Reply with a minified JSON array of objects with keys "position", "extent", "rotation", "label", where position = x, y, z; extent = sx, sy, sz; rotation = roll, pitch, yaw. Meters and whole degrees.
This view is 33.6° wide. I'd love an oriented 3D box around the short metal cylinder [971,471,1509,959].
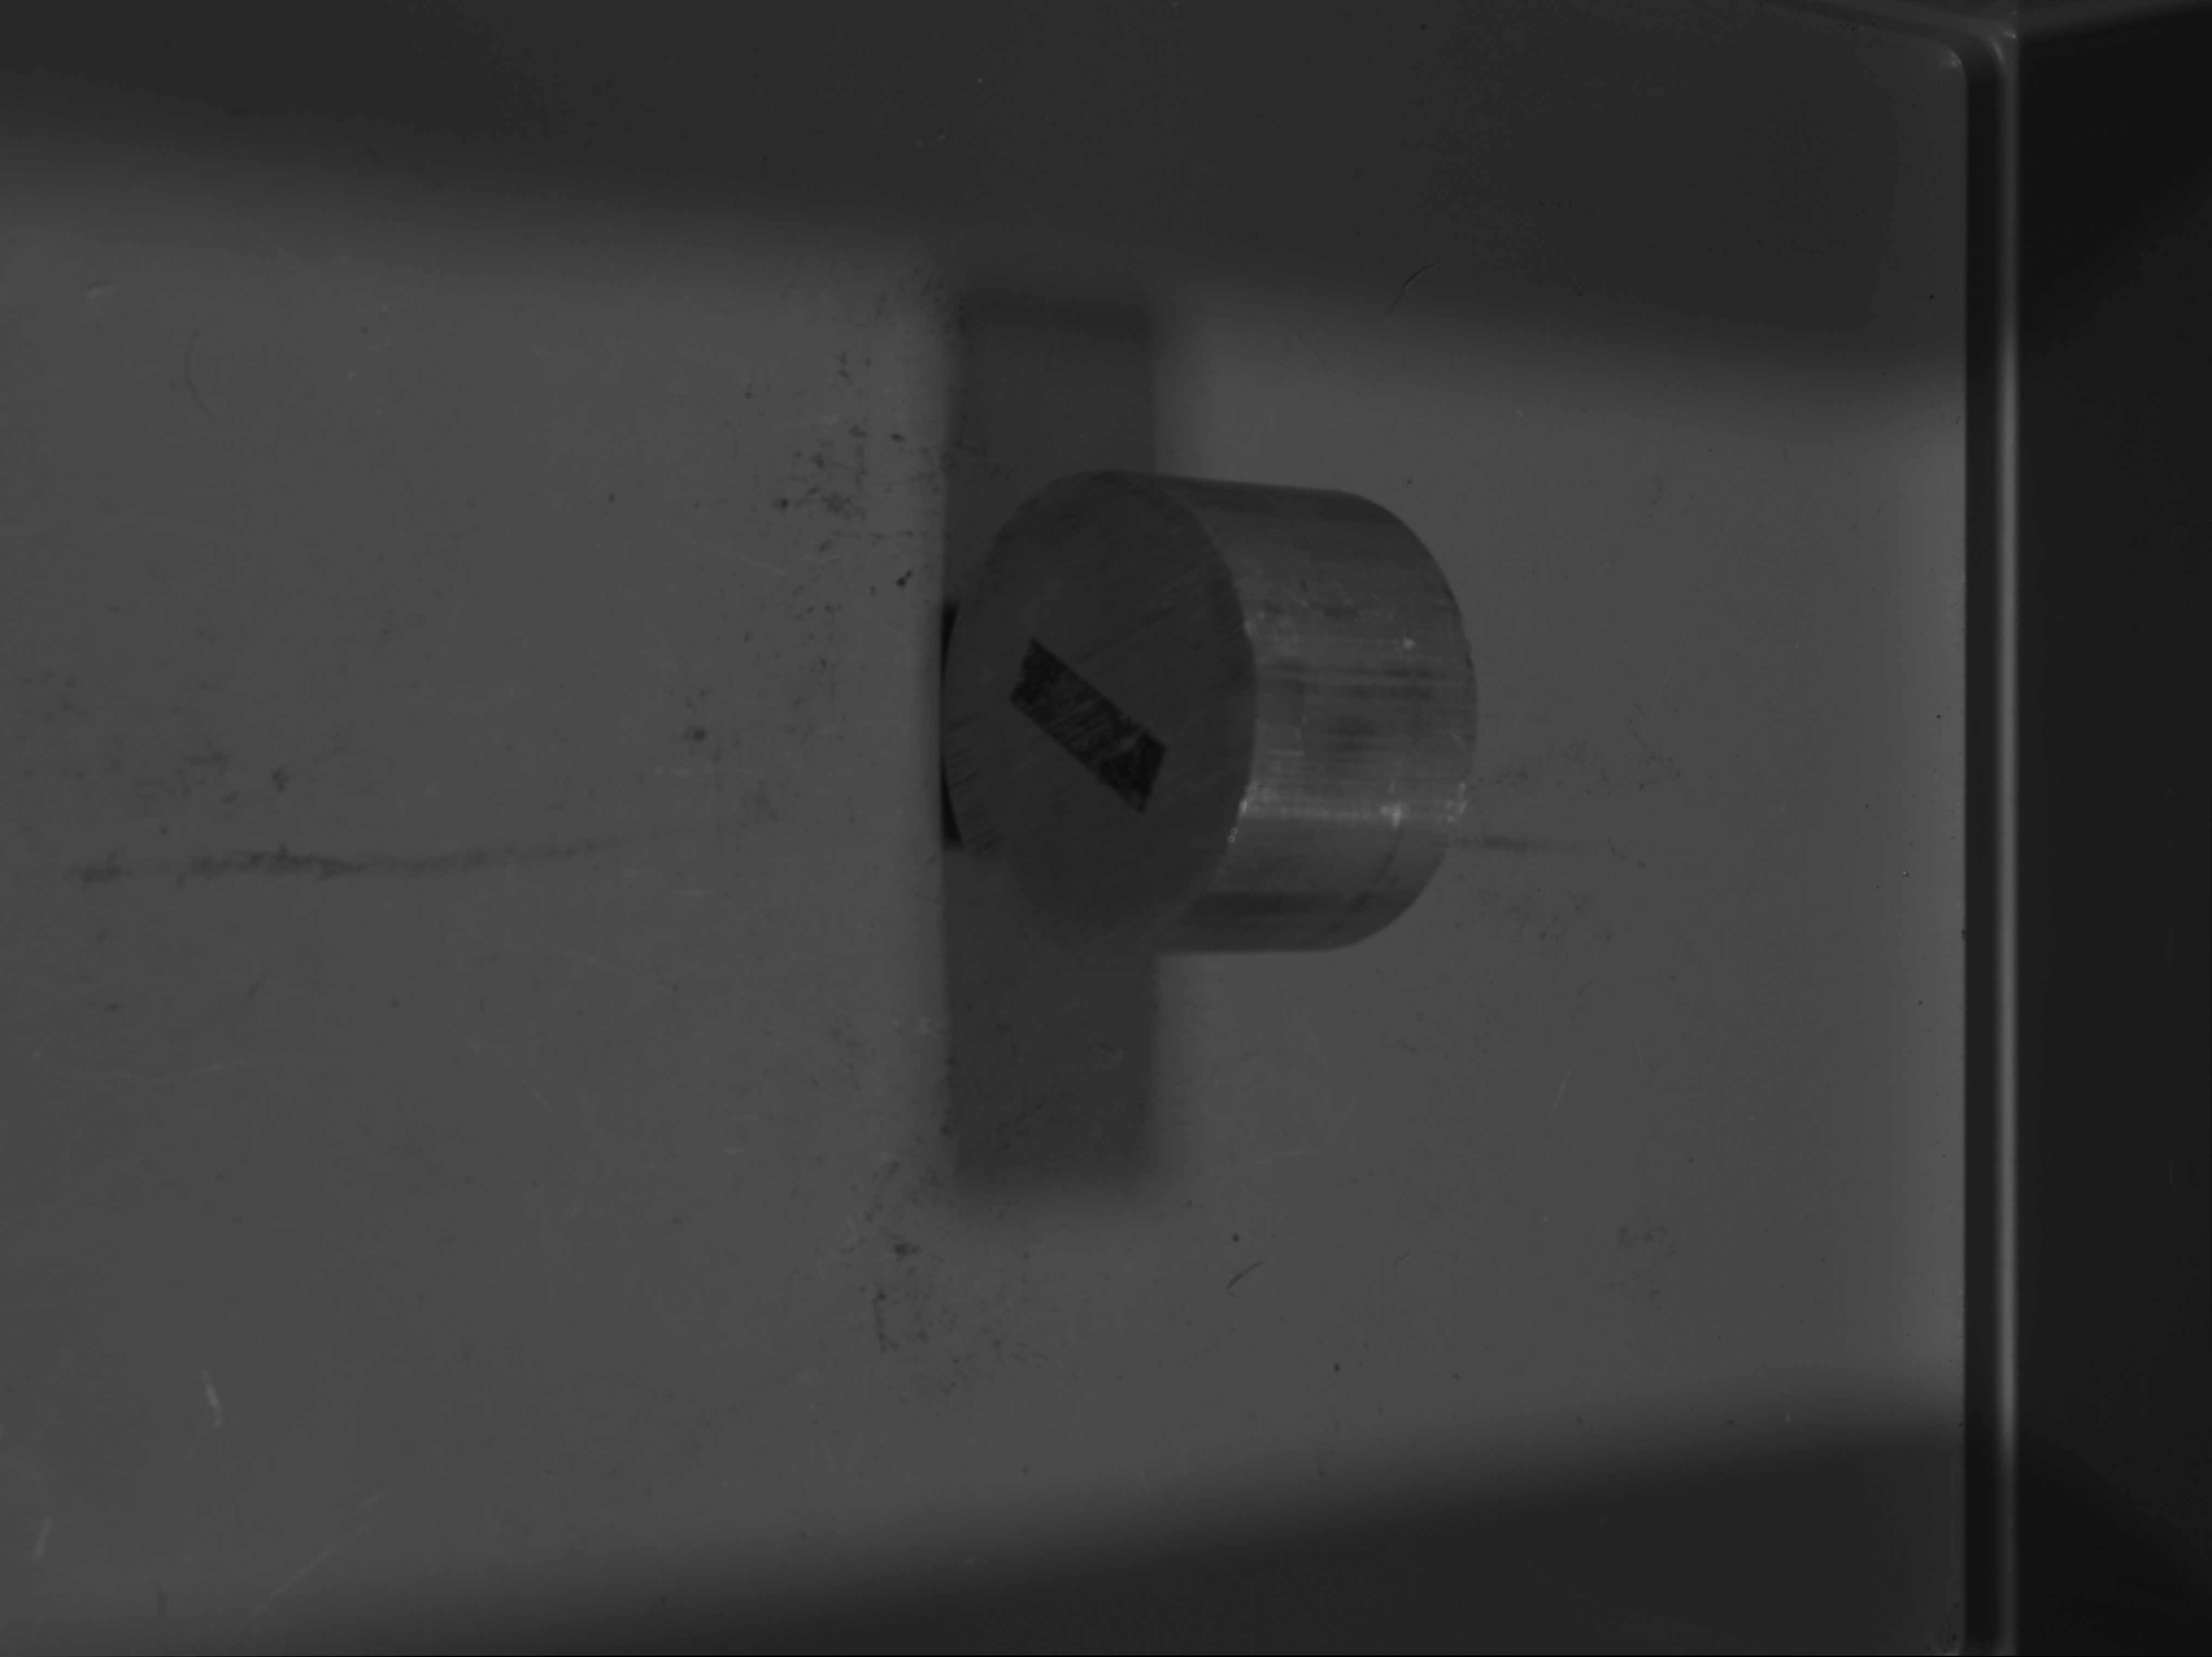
[{"position":[0.022,-0.018,0.617],"extent":[0.050,0.080,0.080],"rotation":[0,90,-40],"label":"short metal cylinder"}]
